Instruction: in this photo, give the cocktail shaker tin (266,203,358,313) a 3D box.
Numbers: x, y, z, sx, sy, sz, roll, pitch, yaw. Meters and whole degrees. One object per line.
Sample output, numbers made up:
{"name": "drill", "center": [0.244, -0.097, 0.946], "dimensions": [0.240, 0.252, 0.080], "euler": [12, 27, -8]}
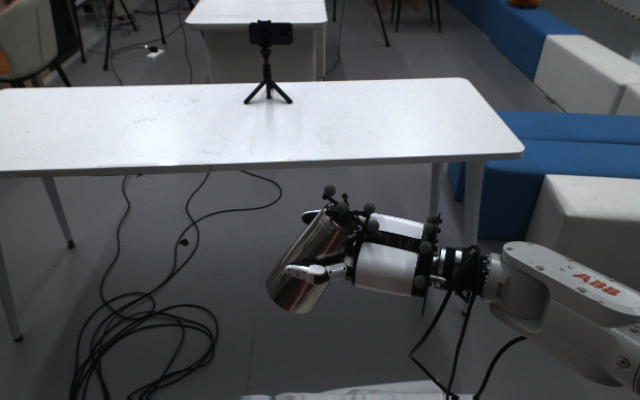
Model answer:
{"name": "cocktail shaker tin", "center": [-0.006, 0.081, 0.746], "dimensions": [0.093, 0.170, 0.093], "euler": [26, 32, -17]}
